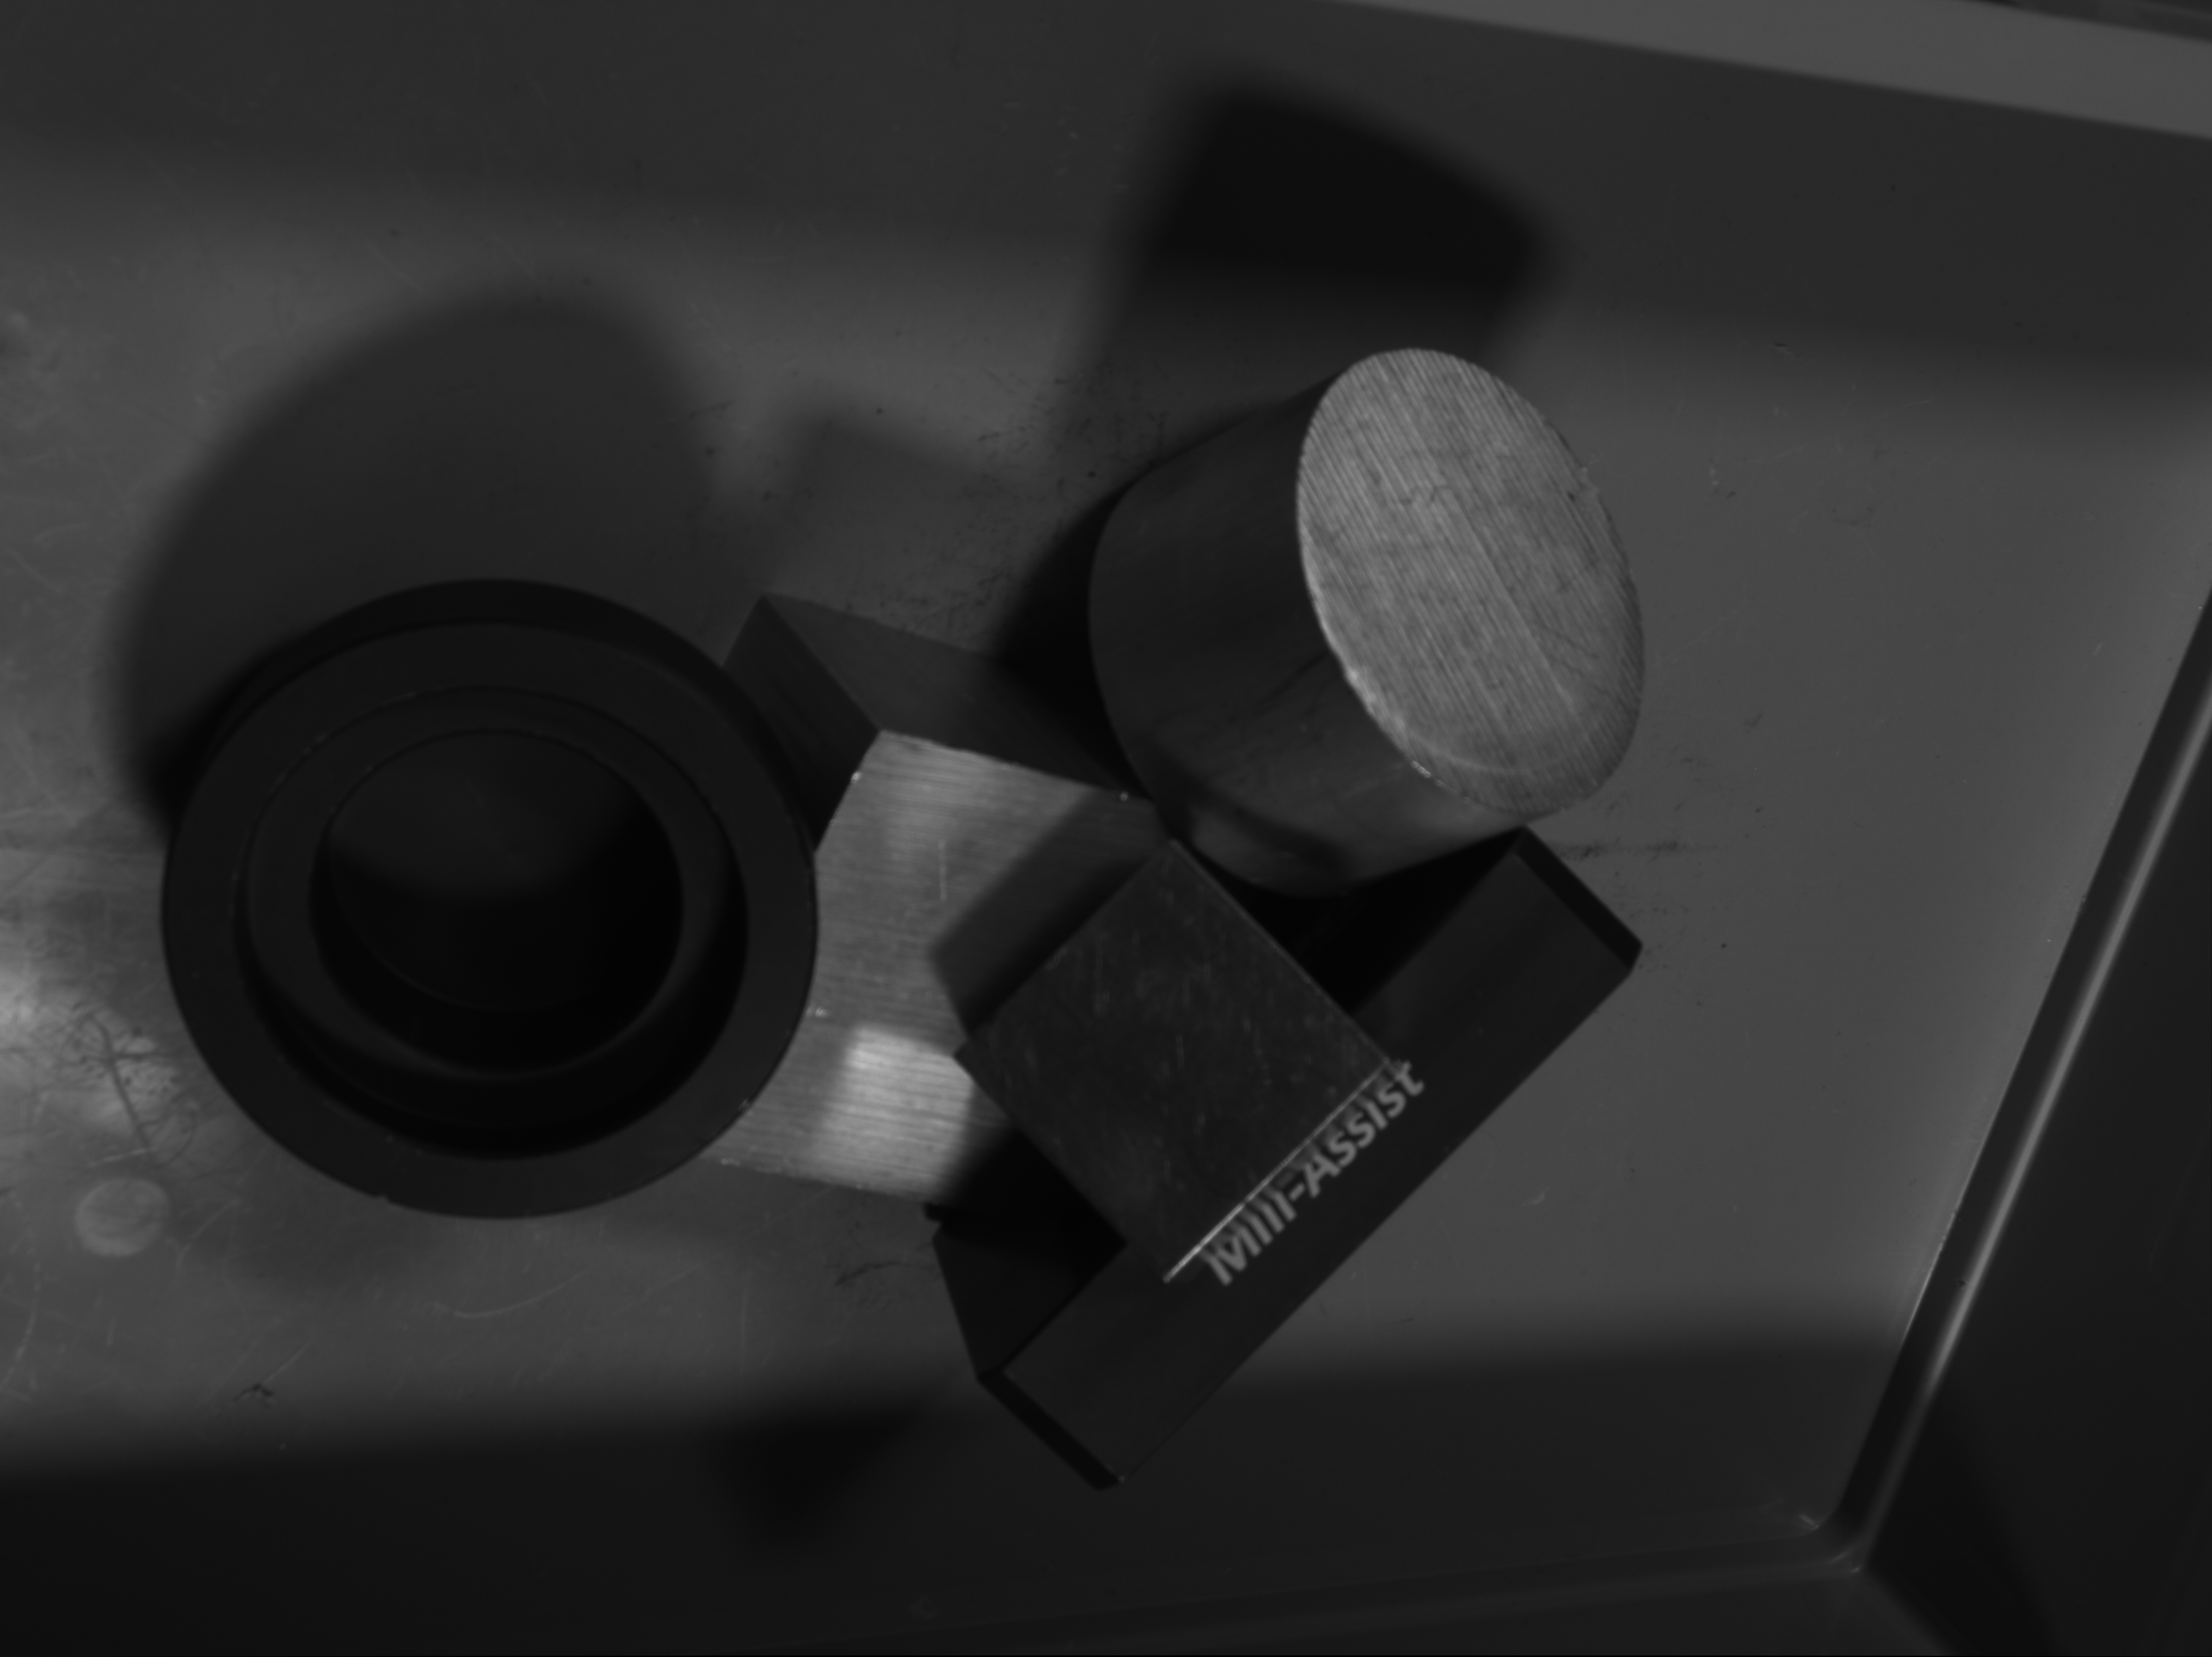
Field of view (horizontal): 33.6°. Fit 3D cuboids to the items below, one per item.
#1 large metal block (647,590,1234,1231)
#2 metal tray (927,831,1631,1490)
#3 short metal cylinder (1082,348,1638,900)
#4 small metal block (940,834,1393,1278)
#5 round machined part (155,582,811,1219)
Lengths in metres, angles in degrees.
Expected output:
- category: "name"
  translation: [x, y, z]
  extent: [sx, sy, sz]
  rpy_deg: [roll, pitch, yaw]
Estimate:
- category: "large metal block"
  translation: [-0.034, 0.015, 0.623]
  extent: [0.080, 0.050, 0.080]
  rpy_deg: [16, 109, -36]
- category: "metal tray"
  translation: [0.027, 0.049, 0.651]
  extent: [0.030, 0.090, 0.130]
  rpy_deg: [44, 91, -13]
- category: "short metal cylinder"
  translation: [0.043, -0.033, 0.609]
  extent: [0.080, 0.080, 0.050]
  rpy_deg: [18, 152, -37]
- category: "small metal block"
  translation: [0.010, 0.037, 0.595]
  extent: [0.050, 0.050, 0.025]
  rpy_deg: [-44, 169, 1]
- category: "round machined part"
  translation: [-0.096, 0.008, 0.572]
  extent: [0.098, 0.042, 0.098]
  rpy_deg: [-2, 111, -5]
